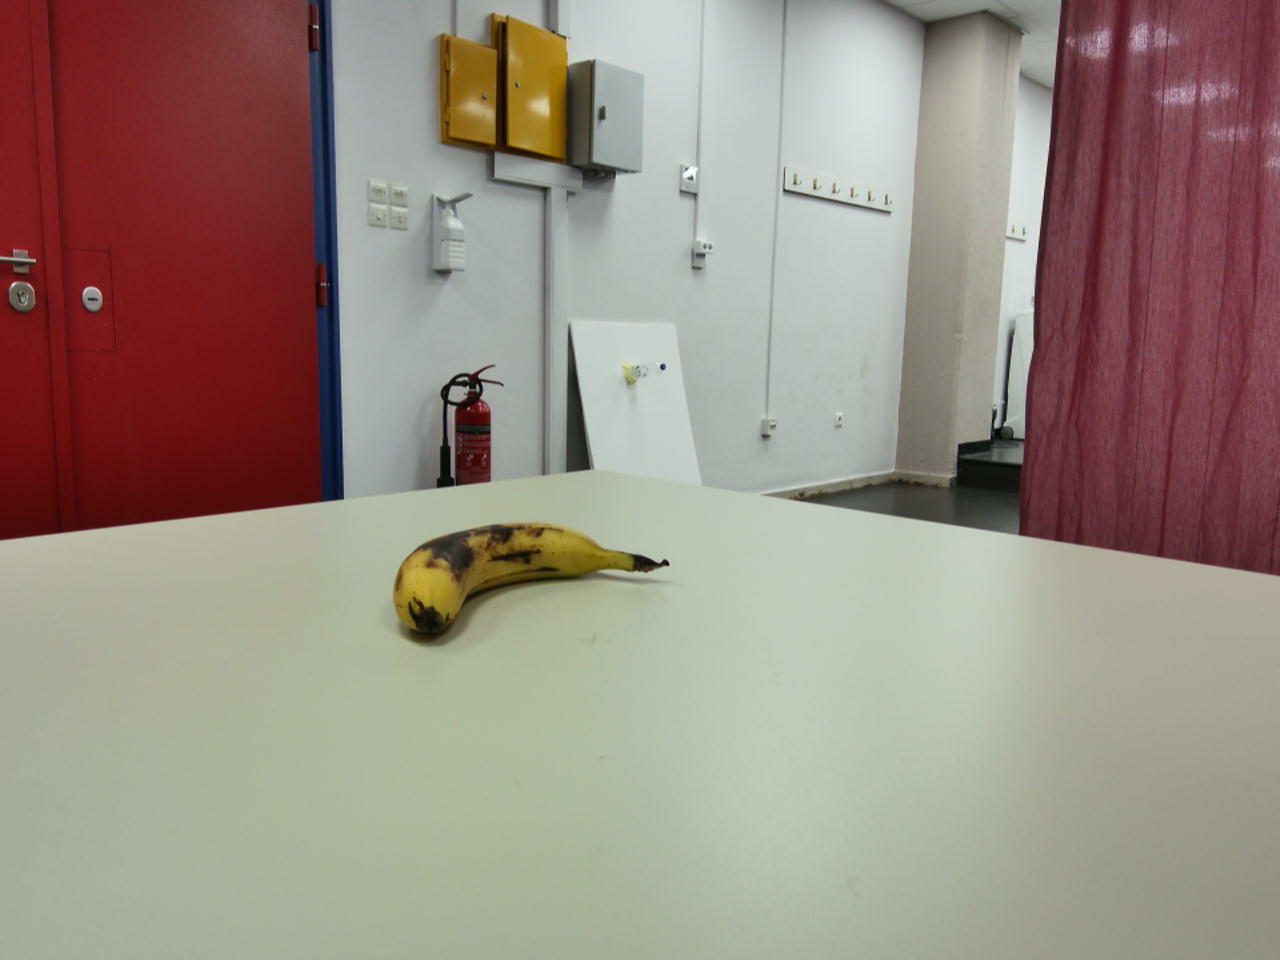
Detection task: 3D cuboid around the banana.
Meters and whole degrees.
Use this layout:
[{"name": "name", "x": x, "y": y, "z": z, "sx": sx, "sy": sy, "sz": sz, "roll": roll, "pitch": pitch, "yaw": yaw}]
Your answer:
[{"name": "banana", "x": -0.079, "y": 0.052, "z": 0.592, "sx": 0.094, "sy": 0.039, "sz": 0.187, "roll": 6, "pitch": 9, "yaw": 40}]
